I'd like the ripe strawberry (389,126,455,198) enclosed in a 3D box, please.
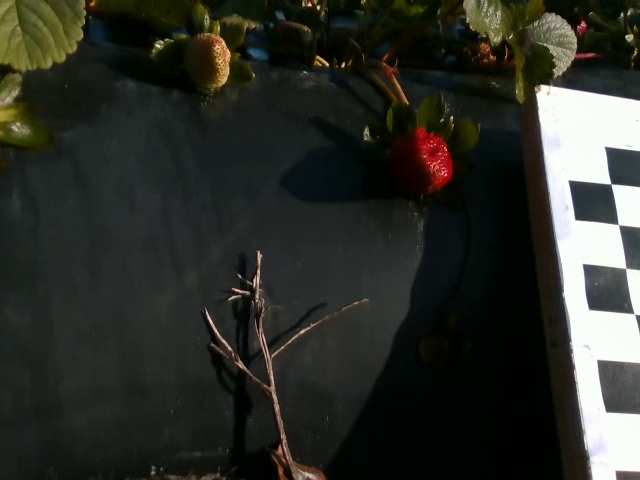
[{"bbox_3d":[0.019,-0.015,0.107,0.015,0.015,0.023,14,14,-6],"label":"ripe strawberry"}]
